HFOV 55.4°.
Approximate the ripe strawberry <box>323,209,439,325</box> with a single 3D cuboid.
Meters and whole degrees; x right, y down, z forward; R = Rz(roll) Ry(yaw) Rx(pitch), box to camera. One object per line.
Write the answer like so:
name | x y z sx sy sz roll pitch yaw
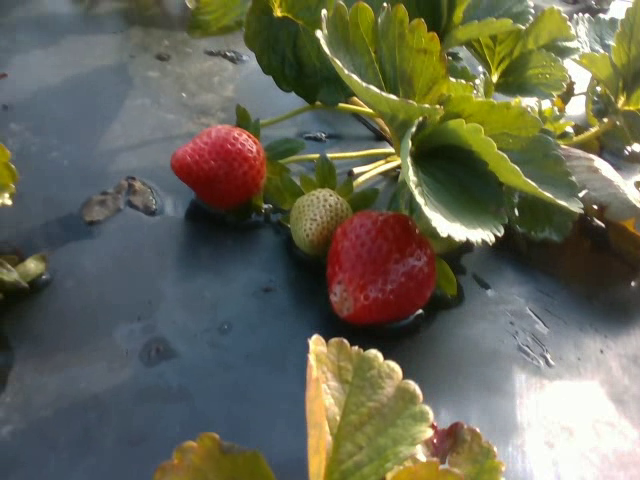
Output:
ripe strawberry | 0.020 0.012 0.247 0.048 0.050 0.065 -13 30 45
